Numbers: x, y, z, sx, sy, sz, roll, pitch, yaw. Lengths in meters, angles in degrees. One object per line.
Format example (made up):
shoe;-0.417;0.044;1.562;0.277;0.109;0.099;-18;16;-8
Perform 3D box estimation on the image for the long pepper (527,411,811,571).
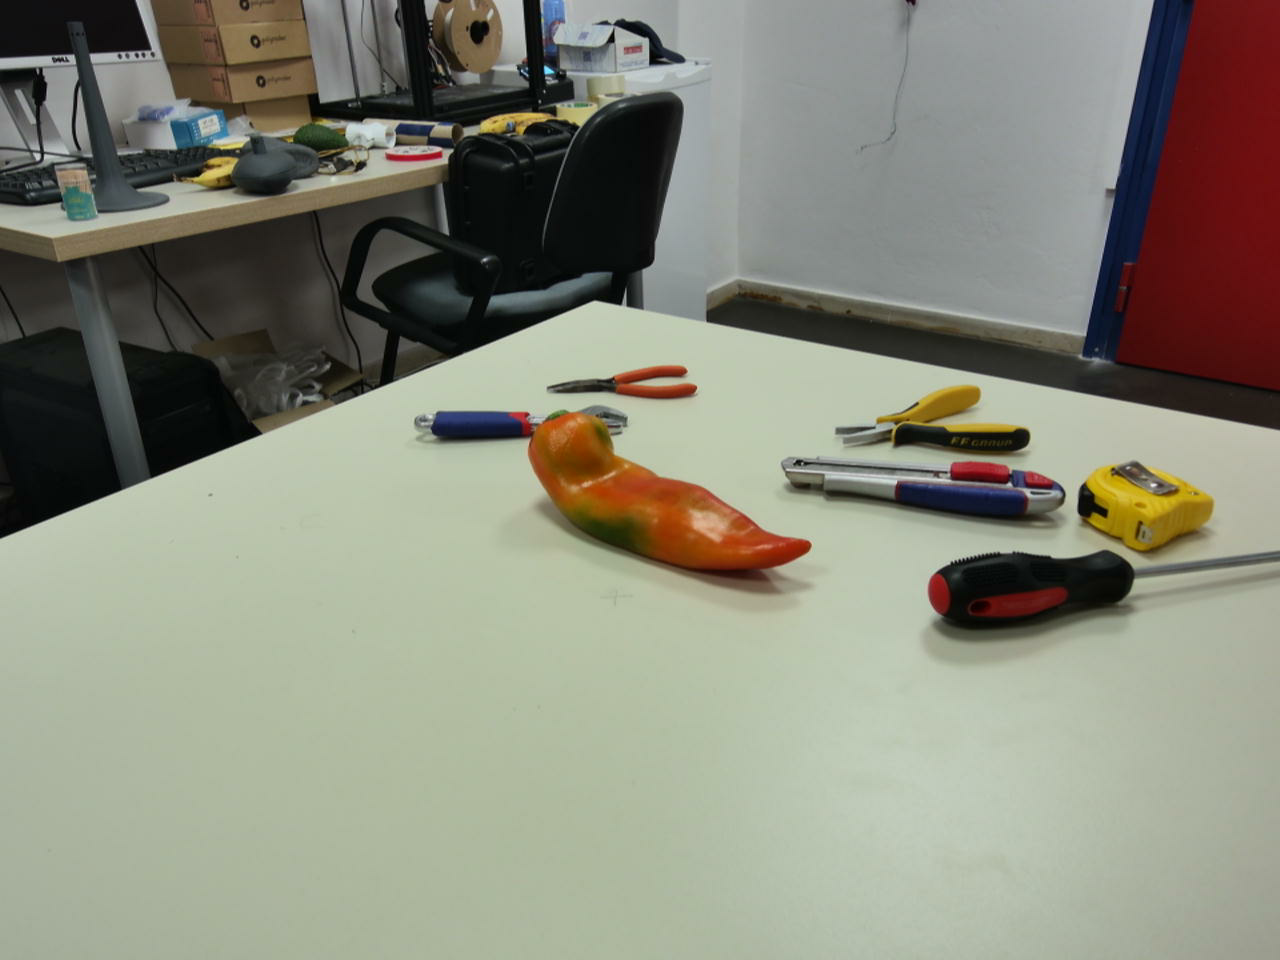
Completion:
long pepper;0.012;0.007;0.598;0.199;0.065;0.066;20;32;37
